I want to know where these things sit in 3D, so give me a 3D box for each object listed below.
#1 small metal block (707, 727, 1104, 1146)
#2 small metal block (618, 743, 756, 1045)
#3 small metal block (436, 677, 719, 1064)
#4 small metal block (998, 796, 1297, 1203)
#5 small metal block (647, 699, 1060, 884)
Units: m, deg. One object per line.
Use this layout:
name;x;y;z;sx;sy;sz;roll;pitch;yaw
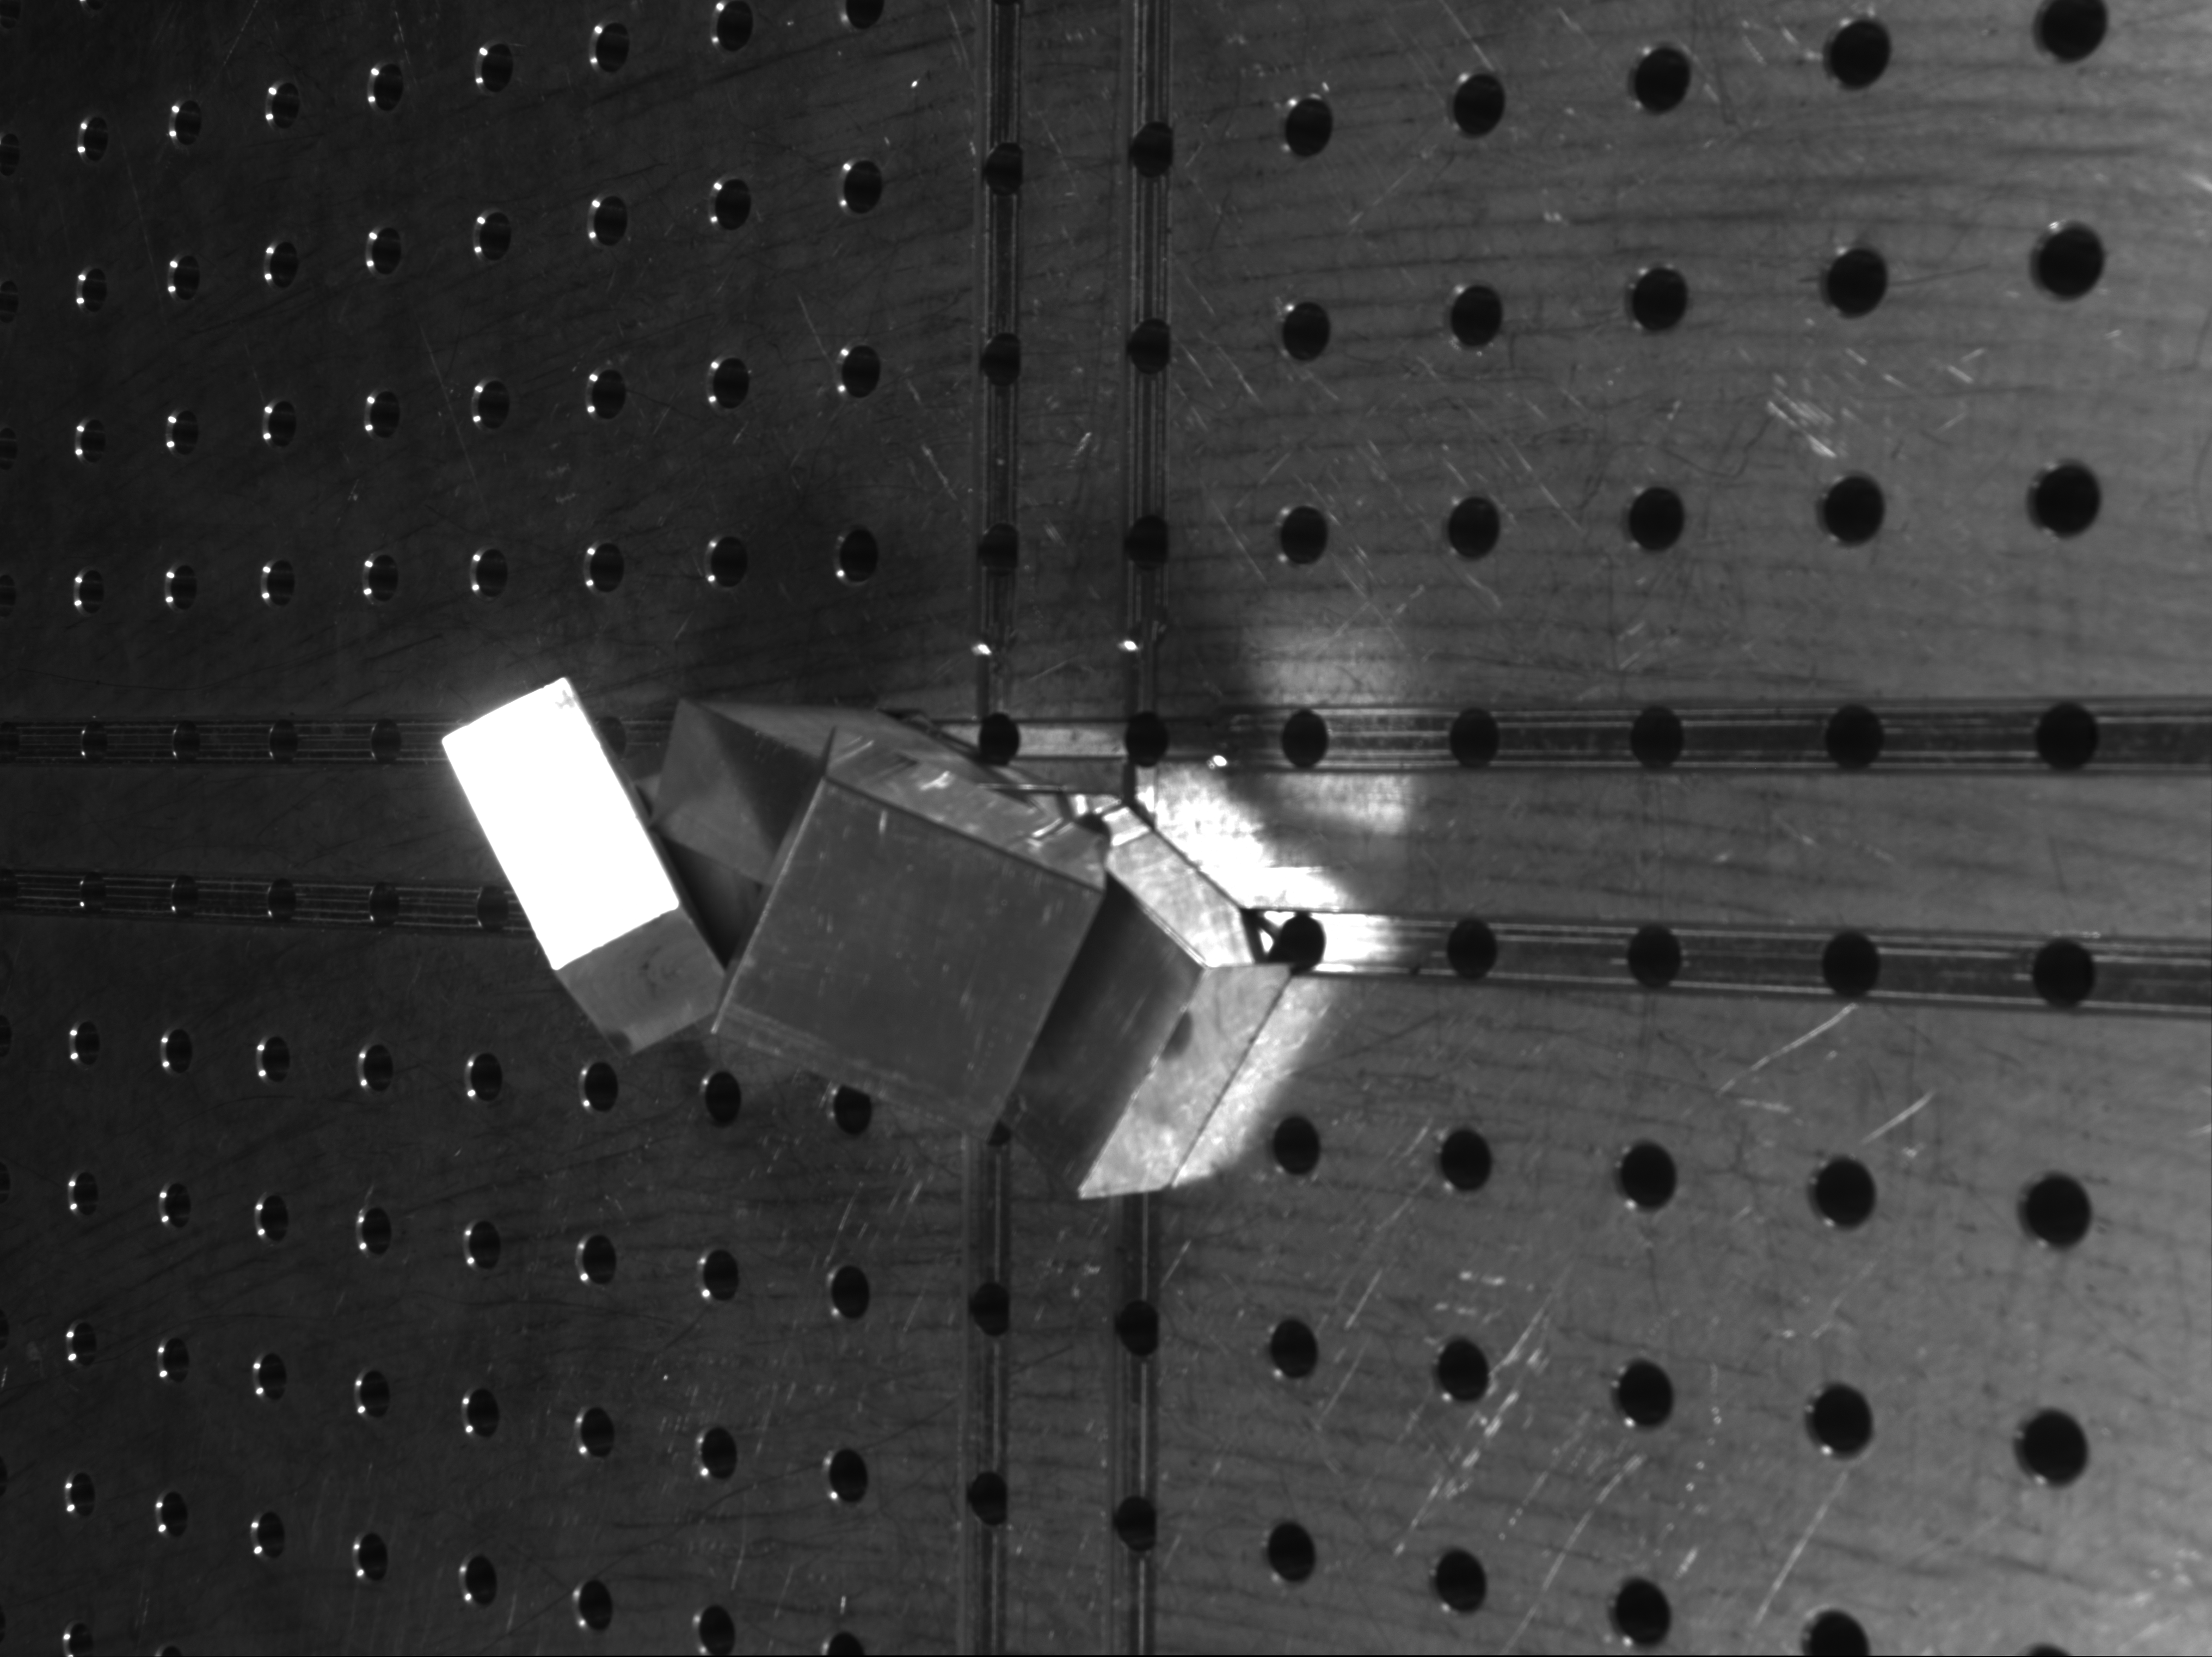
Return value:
small metal block;-0.033;0.018;0.616;0.050;0.025;0.050;22;109;-9
small metal block;-0.077;0.010;0.703;0.050;0.025;0.050;-25;74;37
small metal block;-0.094;0.008;0.664;0.025;0.050;0.050;-28;68;-4
small metal block;-0.002;0.029;0.641;0.050;0.025;0.050;43;115;31
small metal block;-0.046;-0.003;0.661;0.050;0.050;0.025;24;105;37
